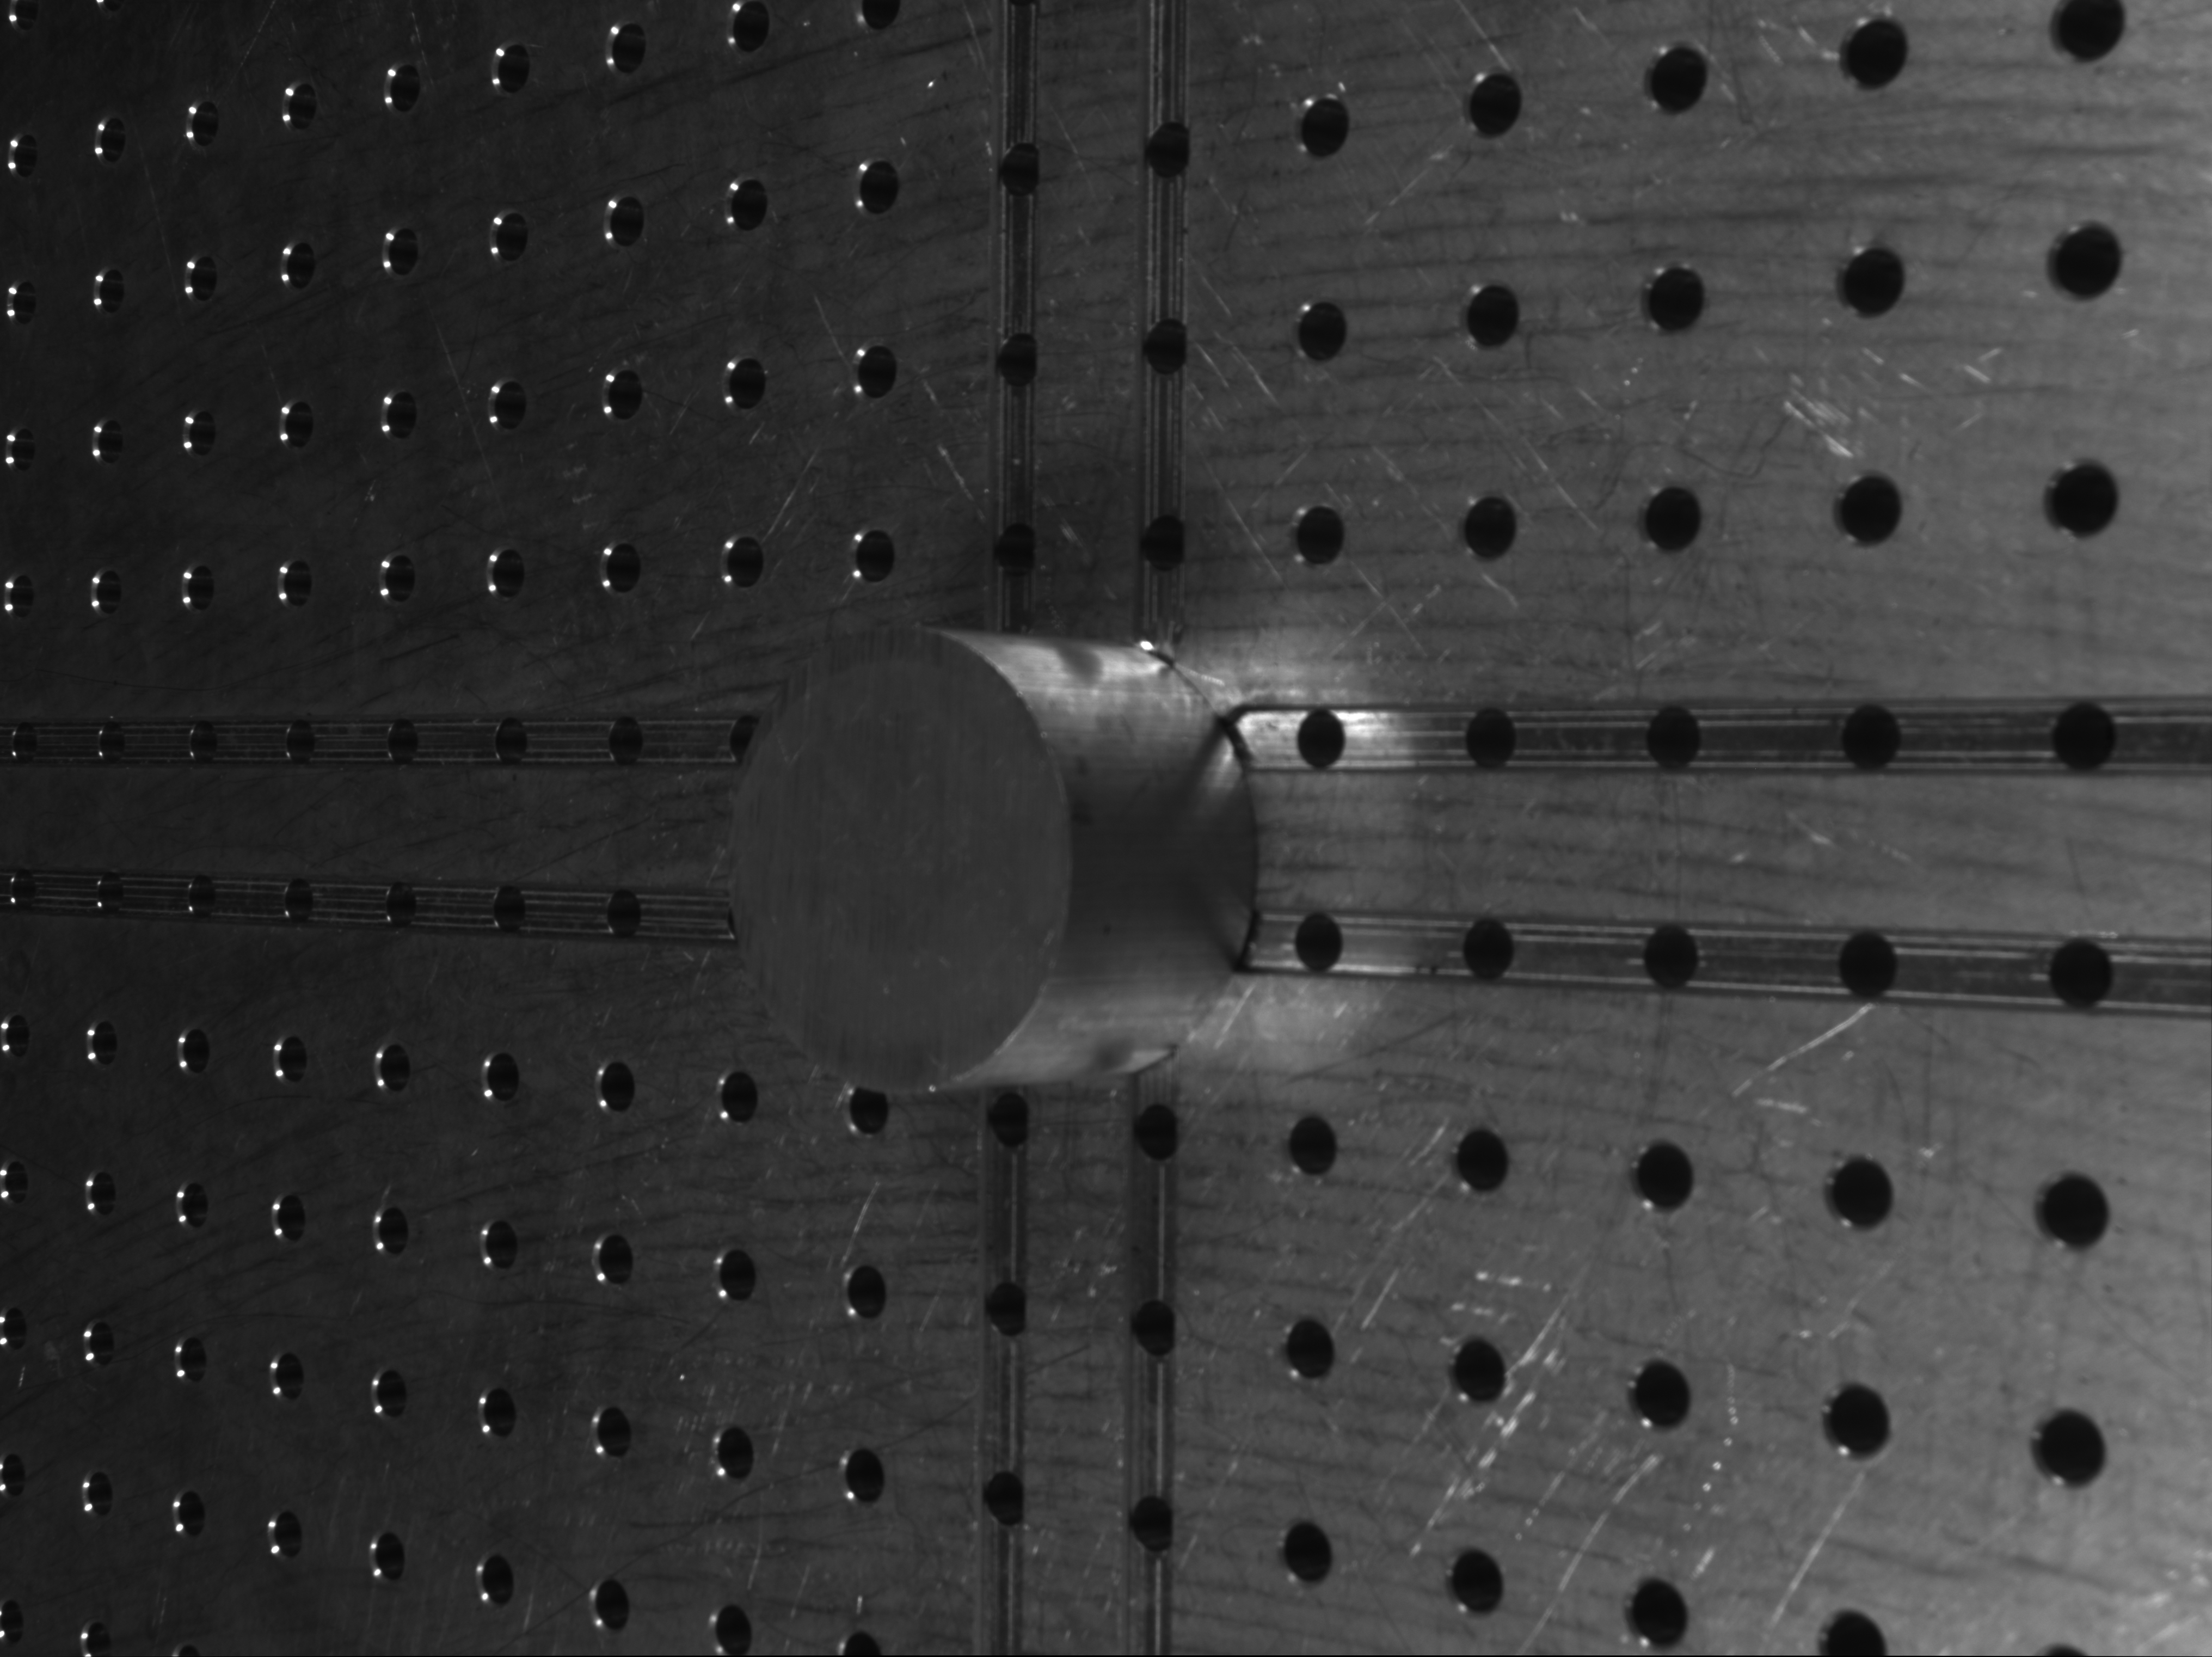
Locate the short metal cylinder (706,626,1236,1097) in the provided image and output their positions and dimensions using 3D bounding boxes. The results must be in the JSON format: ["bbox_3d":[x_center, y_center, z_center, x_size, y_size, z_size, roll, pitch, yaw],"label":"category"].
[{"bbox_3d":[-0.024,0.006,0.642,0.080,0.050,0.080,0,90,39],"label":"short metal cylinder"}]
